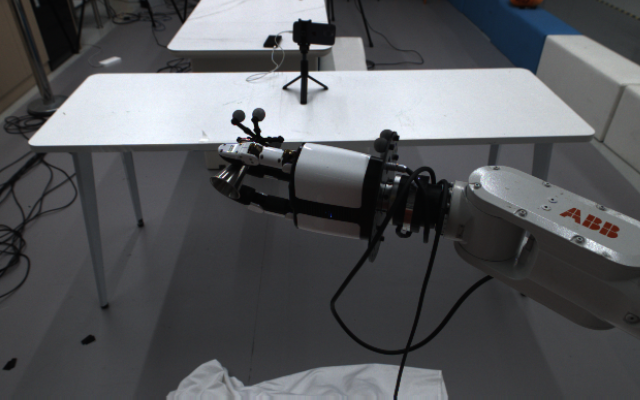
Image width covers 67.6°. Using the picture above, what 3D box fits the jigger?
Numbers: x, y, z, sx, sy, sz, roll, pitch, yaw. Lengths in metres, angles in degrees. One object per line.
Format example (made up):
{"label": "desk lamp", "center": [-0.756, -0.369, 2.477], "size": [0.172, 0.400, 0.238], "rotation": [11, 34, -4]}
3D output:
{"label": "jigger", "center": [-0.105, -0.044, 0.618], "size": [0.043, 0.043, 0.071], "rotation": [19, 61, 23]}
